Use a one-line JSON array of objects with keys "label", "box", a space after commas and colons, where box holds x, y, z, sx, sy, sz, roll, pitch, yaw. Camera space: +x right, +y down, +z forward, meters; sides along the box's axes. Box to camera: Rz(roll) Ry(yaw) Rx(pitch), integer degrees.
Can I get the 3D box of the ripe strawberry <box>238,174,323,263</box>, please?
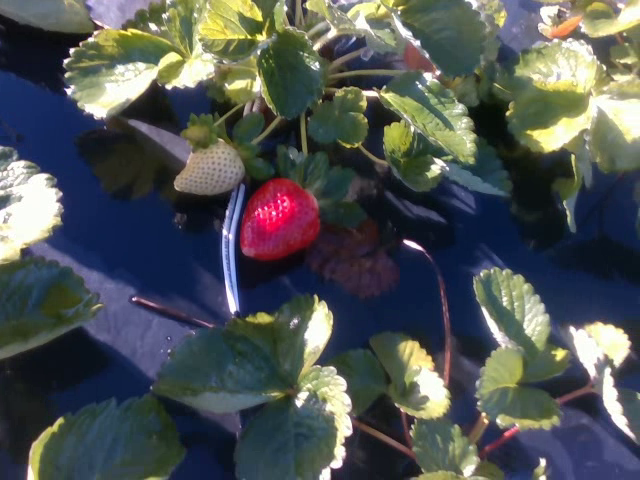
[{"label": "ripe strawberry", "box": [-0.022, -0.013, 0.380, 0.040, 0.063, 0.080, -15, 22, 42]}]
